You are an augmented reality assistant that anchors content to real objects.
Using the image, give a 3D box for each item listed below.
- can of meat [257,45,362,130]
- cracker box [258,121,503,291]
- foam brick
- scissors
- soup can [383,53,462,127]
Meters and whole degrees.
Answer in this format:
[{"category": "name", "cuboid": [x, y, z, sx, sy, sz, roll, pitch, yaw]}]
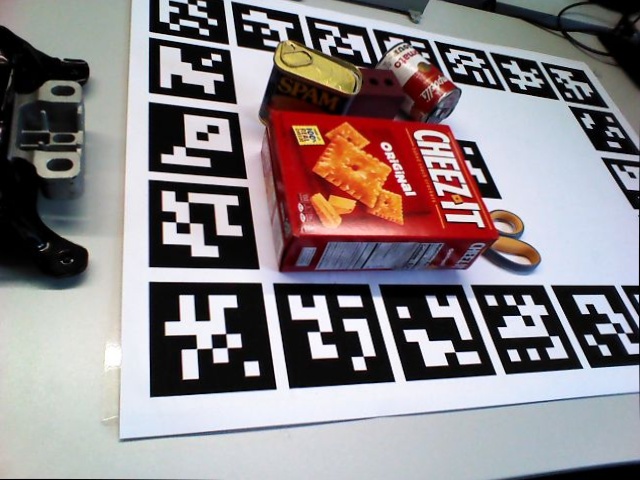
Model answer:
[{"category": "can of meat", "cuboid": [-0.016, -0.161, 0.592, 0.102, 0.084, 0.057, 14, 55, -13]}, {"category": "cracker box", "cuboid": [0.057, -0.043, 0.534, 0.213, 0.072, 0.163, -5, 59, -19]}, {"category": "foam brick", "cuboid": [0.063, -0.175, 0.656, 0.078, 0.052, 0.052, -8, 62, -26]}, {"category": "scissors", "cuboid": [0.161, 0.007, 0.581, 0.202, 0.016, 0.087, -2, 60, -22]}, {"category": "soup can", "cuboid": [0.136, -0.195, 0.696, 0.102, 0.068, 0.067, 42, 53, 15]}]
